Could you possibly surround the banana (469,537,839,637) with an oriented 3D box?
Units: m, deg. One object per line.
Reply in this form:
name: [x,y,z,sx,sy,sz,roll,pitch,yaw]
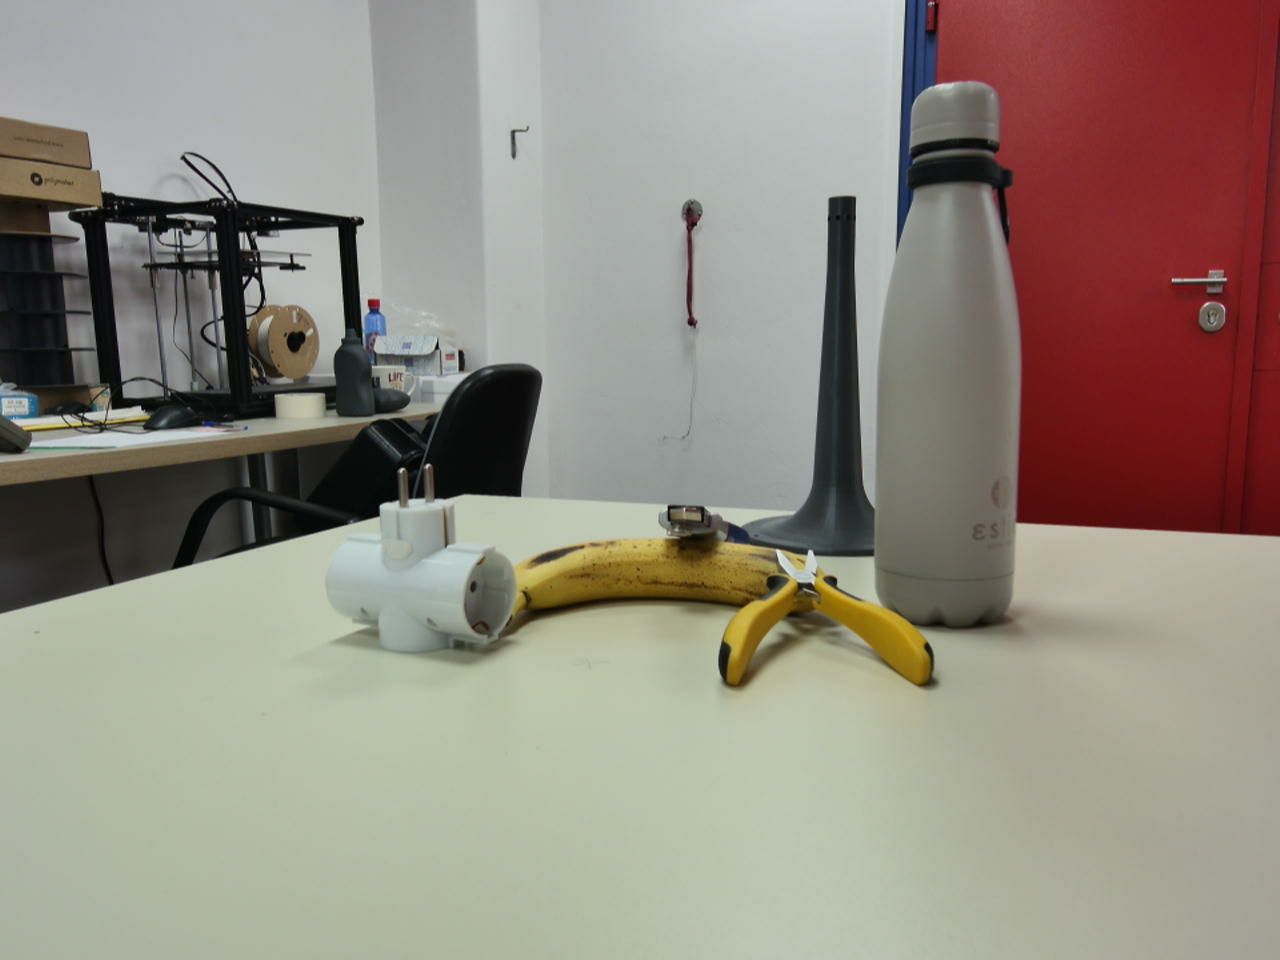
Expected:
banana: [0.008,0.055,0.556,0.186,0.038,0.097,0,6,-4]
